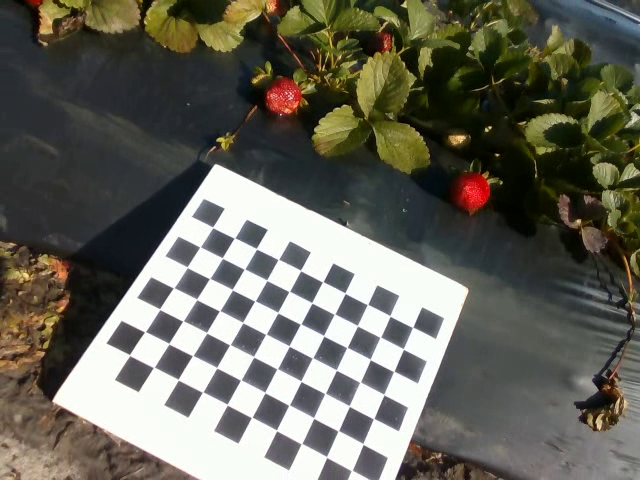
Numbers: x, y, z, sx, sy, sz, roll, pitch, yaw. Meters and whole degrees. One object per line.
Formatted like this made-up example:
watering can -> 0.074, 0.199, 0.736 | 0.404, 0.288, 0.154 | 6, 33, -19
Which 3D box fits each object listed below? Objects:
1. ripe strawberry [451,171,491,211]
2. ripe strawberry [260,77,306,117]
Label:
ripe strawberry -> 0.140, -0.046, 0.597 | 0.043, 0.043, 0.050 | -36, -16, 22
ripe strawberry -> -0.040, -0.143, 0.623 | 0.041, 0.043, 0.053 | 38, 22, 6
